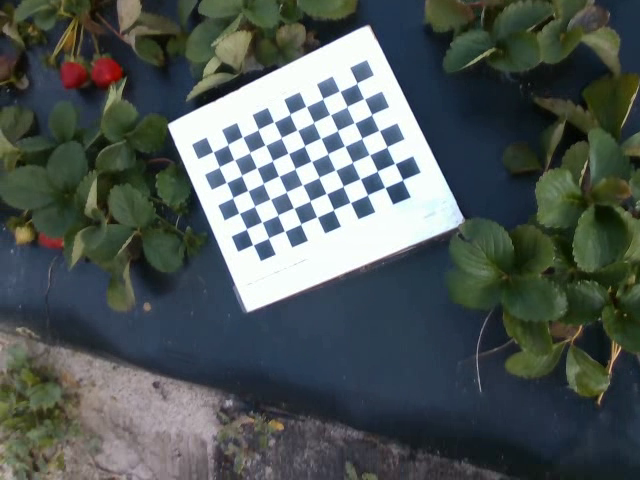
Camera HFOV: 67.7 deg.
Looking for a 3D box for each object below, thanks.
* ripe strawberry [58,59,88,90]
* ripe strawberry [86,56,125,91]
[{"bbox_3d":[-0.411,-0.272,0.792,0.048,0.056,0.041,-9,-28,10],"label":"ripe strawberry"},{"bbox_3d":[-0.351,-0.273,0.775,0.051,0.057,0.064,42,6,-48],"label":"ripe strawberry"}]
